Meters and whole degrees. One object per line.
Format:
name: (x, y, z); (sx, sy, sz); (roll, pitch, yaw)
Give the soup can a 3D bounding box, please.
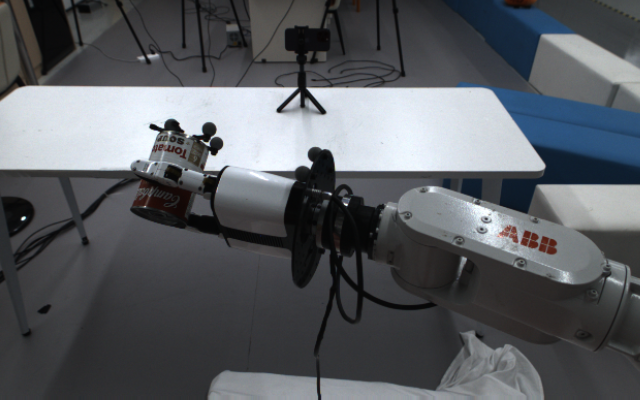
soup can: (-0.182, -0.024, 0.595); (0.067, 0.067, 0.101); (9, 71, 10)
